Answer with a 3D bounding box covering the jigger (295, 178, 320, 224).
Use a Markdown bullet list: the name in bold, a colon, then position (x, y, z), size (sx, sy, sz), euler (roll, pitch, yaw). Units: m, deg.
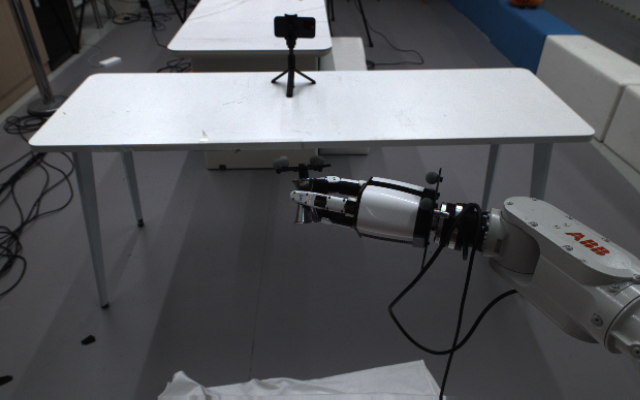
- **jigger**: position (-0.023, 0.000, 0.753), size (0.043, 0.071, 0.043), euler (-4, 1, 0)
